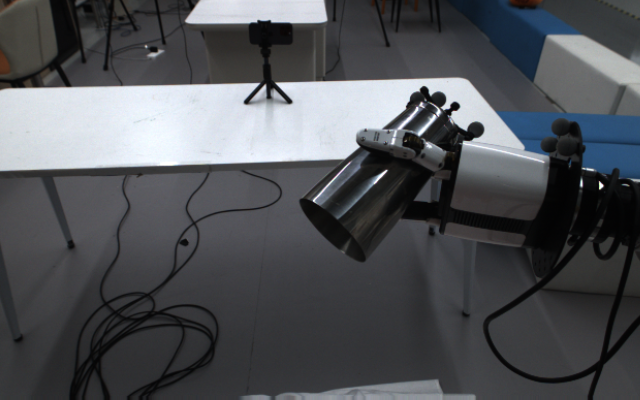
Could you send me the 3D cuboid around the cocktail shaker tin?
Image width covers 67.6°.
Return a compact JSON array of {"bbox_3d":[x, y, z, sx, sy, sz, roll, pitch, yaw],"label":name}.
[{"bbox_3d":[0.071,-0.031,0.516,0.170,0.093,0.093,-43,51,-15],"label":"cocktail shaker tin"}]
